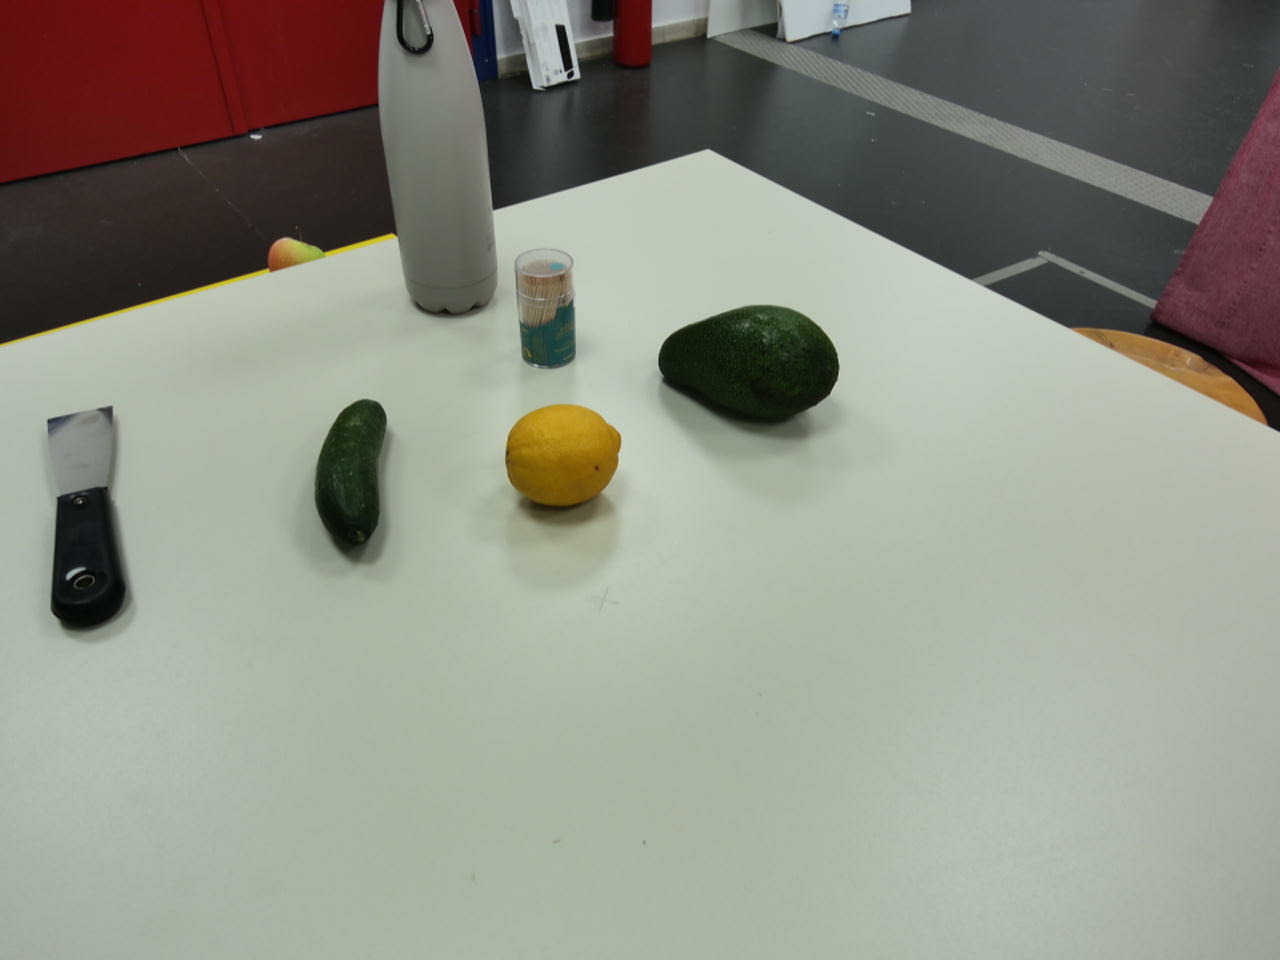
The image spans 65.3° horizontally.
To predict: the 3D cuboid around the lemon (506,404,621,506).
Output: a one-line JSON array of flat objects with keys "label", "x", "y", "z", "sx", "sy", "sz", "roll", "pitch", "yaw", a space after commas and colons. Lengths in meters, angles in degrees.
[{"label": "lemon", "x": -0.046, "y": -0.014, "z": 0.586, "sx": 0.067, "sy": 0.059, "sz": 0.060, "roll": 4, "pitch": 38, "yaw": 4}]
